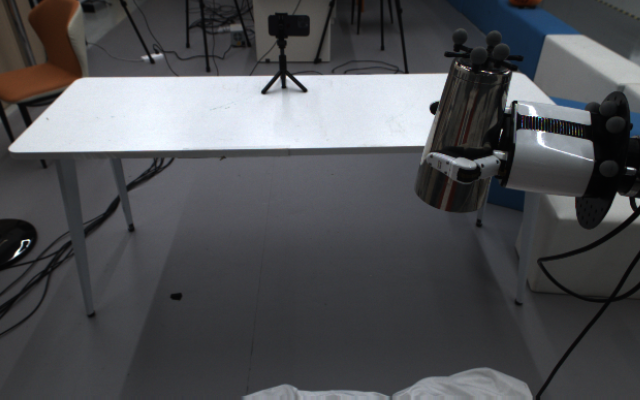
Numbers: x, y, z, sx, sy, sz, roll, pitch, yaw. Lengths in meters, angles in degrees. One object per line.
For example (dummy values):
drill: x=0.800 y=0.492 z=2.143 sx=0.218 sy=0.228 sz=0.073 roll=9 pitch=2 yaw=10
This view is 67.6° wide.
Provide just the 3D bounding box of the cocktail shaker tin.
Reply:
cocktail shaker tin: x=0.176 y=-0.082 z=0.584 sx=0.093 sy=0.170 sz=0.093 roll=3 pitch=34 yaw=-2
